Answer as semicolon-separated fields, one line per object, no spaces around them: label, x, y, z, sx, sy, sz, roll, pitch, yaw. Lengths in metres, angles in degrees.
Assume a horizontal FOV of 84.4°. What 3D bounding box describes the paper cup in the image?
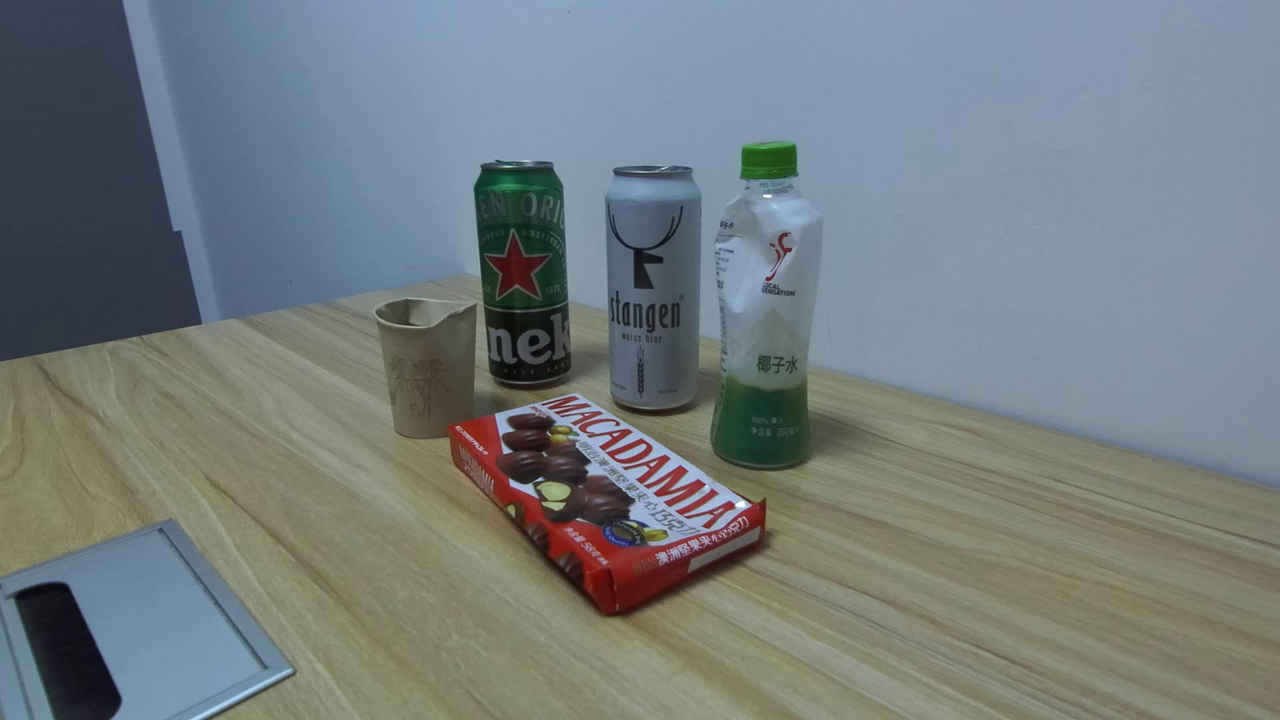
paper cup;-0.148;0.005;0.484;0.066;0.084;0.072;7;20;20

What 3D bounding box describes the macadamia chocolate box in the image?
macadamia chocolate box;-0.027;0.068;0.391;0.106;0.028;0.182;-15;25;-34

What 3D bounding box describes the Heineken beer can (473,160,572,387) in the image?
Heineken beer can;-0.090;-0.065;0.555;0.067;0.169;0.067;-1;18;0

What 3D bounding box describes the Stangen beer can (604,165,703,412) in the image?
Stangen beer can;0.010;-0.049;0.503;0.067;0.171;0.067;0;19;0

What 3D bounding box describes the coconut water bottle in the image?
coconut water bottle;0.076;-0.032;0.420;0.069;0.187;0.069;0;19;0
